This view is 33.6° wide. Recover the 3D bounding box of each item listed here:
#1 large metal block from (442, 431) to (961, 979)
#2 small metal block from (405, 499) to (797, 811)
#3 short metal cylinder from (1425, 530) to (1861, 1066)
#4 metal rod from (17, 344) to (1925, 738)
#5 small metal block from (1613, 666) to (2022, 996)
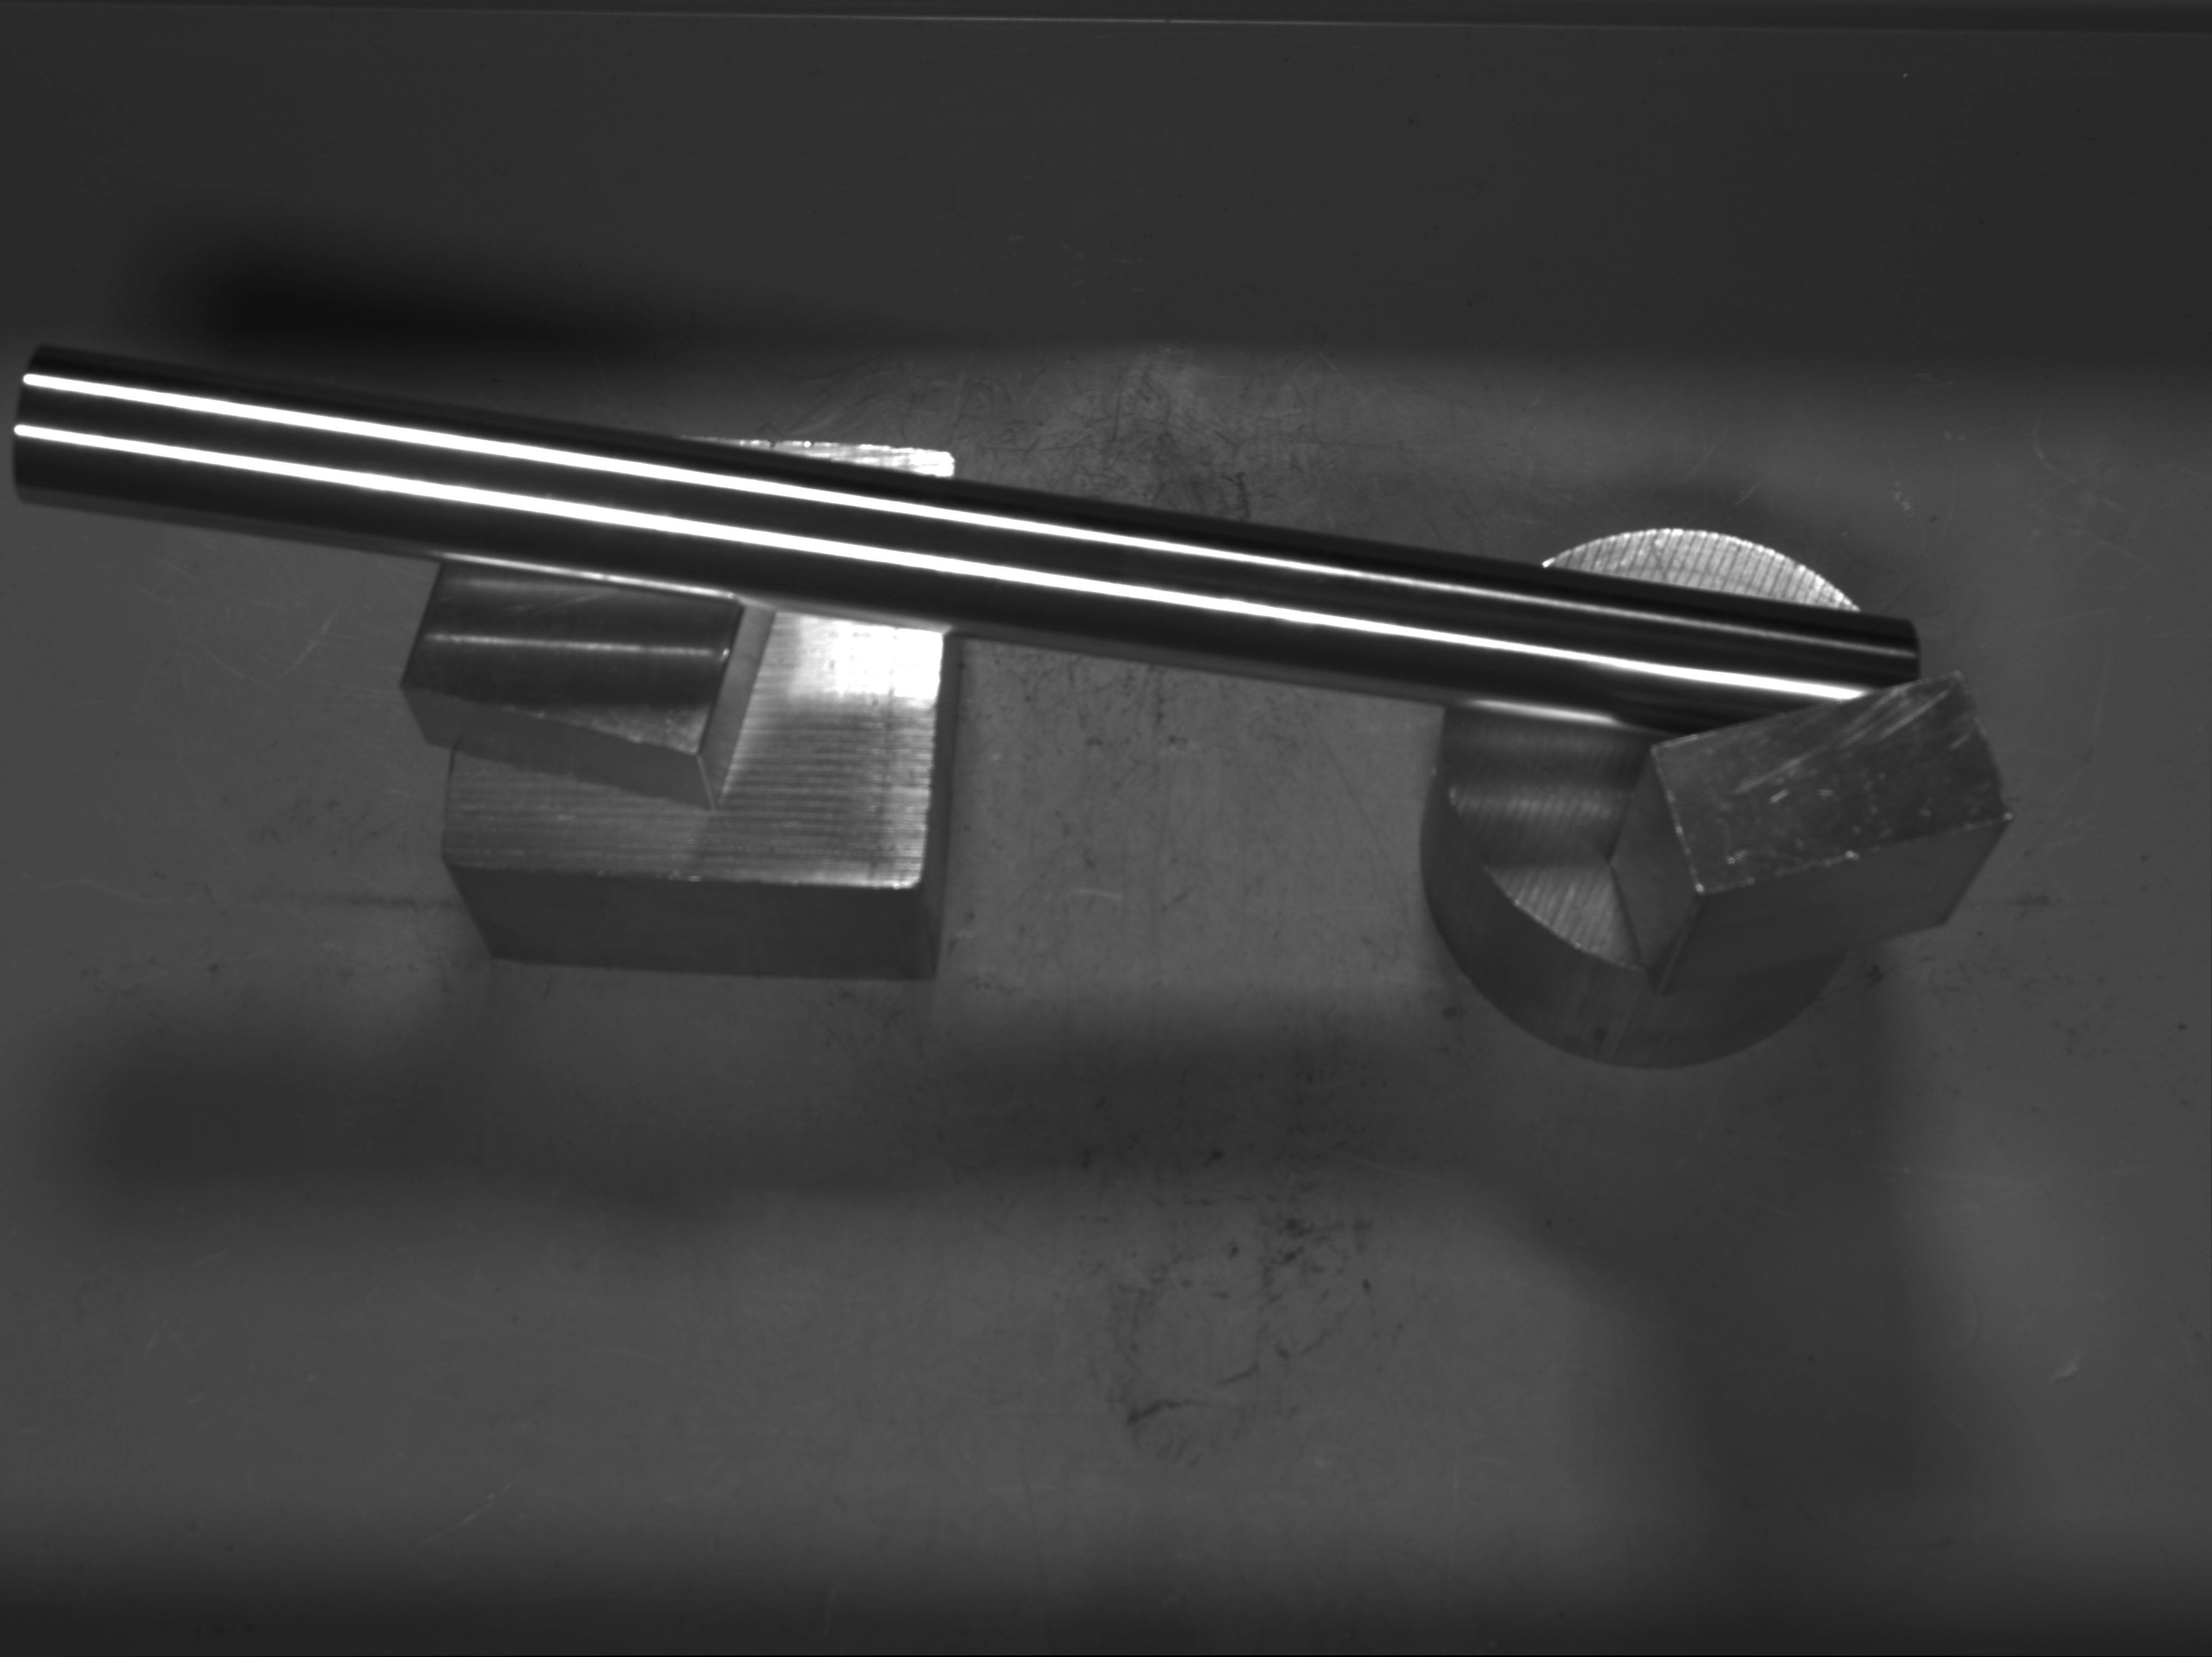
[{"bbox_3d":[-0.067,-0.021,0.637,0.080,0.050,0.080,3,70,1],"label":"large metal block"},{"bbox_3d":[-0.082,-0.035,0.603,0.050,0.025,0.050,12,70,5],"label":"small metal block"},{"bbox_3d":[0.097,-0.005,0.632,0.080,0.050,0.080,0,70,0],"label":"short metal cylinder"},{"bbox_3d":[-0.019,-0.042,0.584,0.300,0.025,0.025,8,70,-5],"label":"metal rod"},{"bbox_3d":[0.110,0.001,0.576,0.050,0.050,0.025,-14,70,-5],"label":"small metal block"}]
